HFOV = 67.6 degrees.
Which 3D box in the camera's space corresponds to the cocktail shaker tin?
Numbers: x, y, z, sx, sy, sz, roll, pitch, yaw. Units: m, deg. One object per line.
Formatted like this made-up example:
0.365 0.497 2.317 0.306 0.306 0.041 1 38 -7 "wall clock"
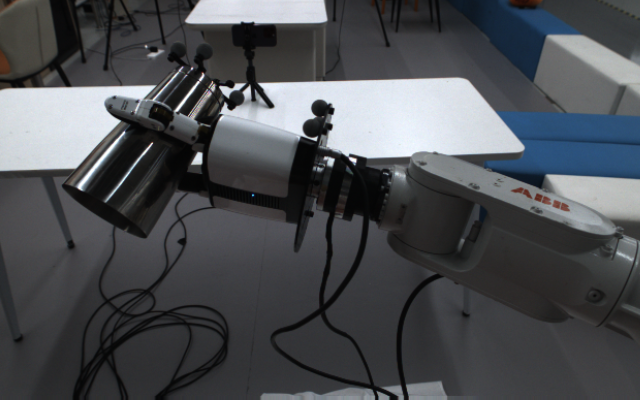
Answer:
-0.169 -0.059 0.501 0.093 0.093 0.170 18 66 21 "cocktail shaker tin"
